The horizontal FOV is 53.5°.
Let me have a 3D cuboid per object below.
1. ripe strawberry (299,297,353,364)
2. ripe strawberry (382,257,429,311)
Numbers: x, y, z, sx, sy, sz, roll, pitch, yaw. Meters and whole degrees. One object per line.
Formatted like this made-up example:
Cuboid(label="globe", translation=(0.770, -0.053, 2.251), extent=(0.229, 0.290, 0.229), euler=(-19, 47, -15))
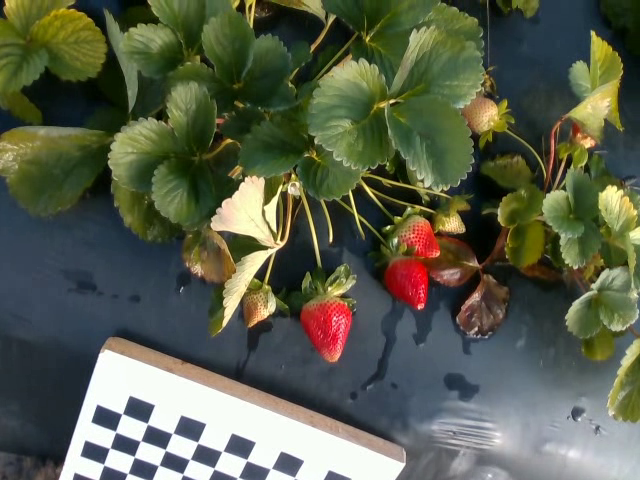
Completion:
Cuboid(label="ripe strawberry", translation=(0.006, 0.078, 0.552), extent=(0.050, 0.065, 0.049), euler=(-12, -30, 13))
Cuboid(label="ripe strawberry", translation=(0.081, 0.042, 0.572), extent=(0.045, 0.055, 0.042), euler=(-35, -32, 21))
